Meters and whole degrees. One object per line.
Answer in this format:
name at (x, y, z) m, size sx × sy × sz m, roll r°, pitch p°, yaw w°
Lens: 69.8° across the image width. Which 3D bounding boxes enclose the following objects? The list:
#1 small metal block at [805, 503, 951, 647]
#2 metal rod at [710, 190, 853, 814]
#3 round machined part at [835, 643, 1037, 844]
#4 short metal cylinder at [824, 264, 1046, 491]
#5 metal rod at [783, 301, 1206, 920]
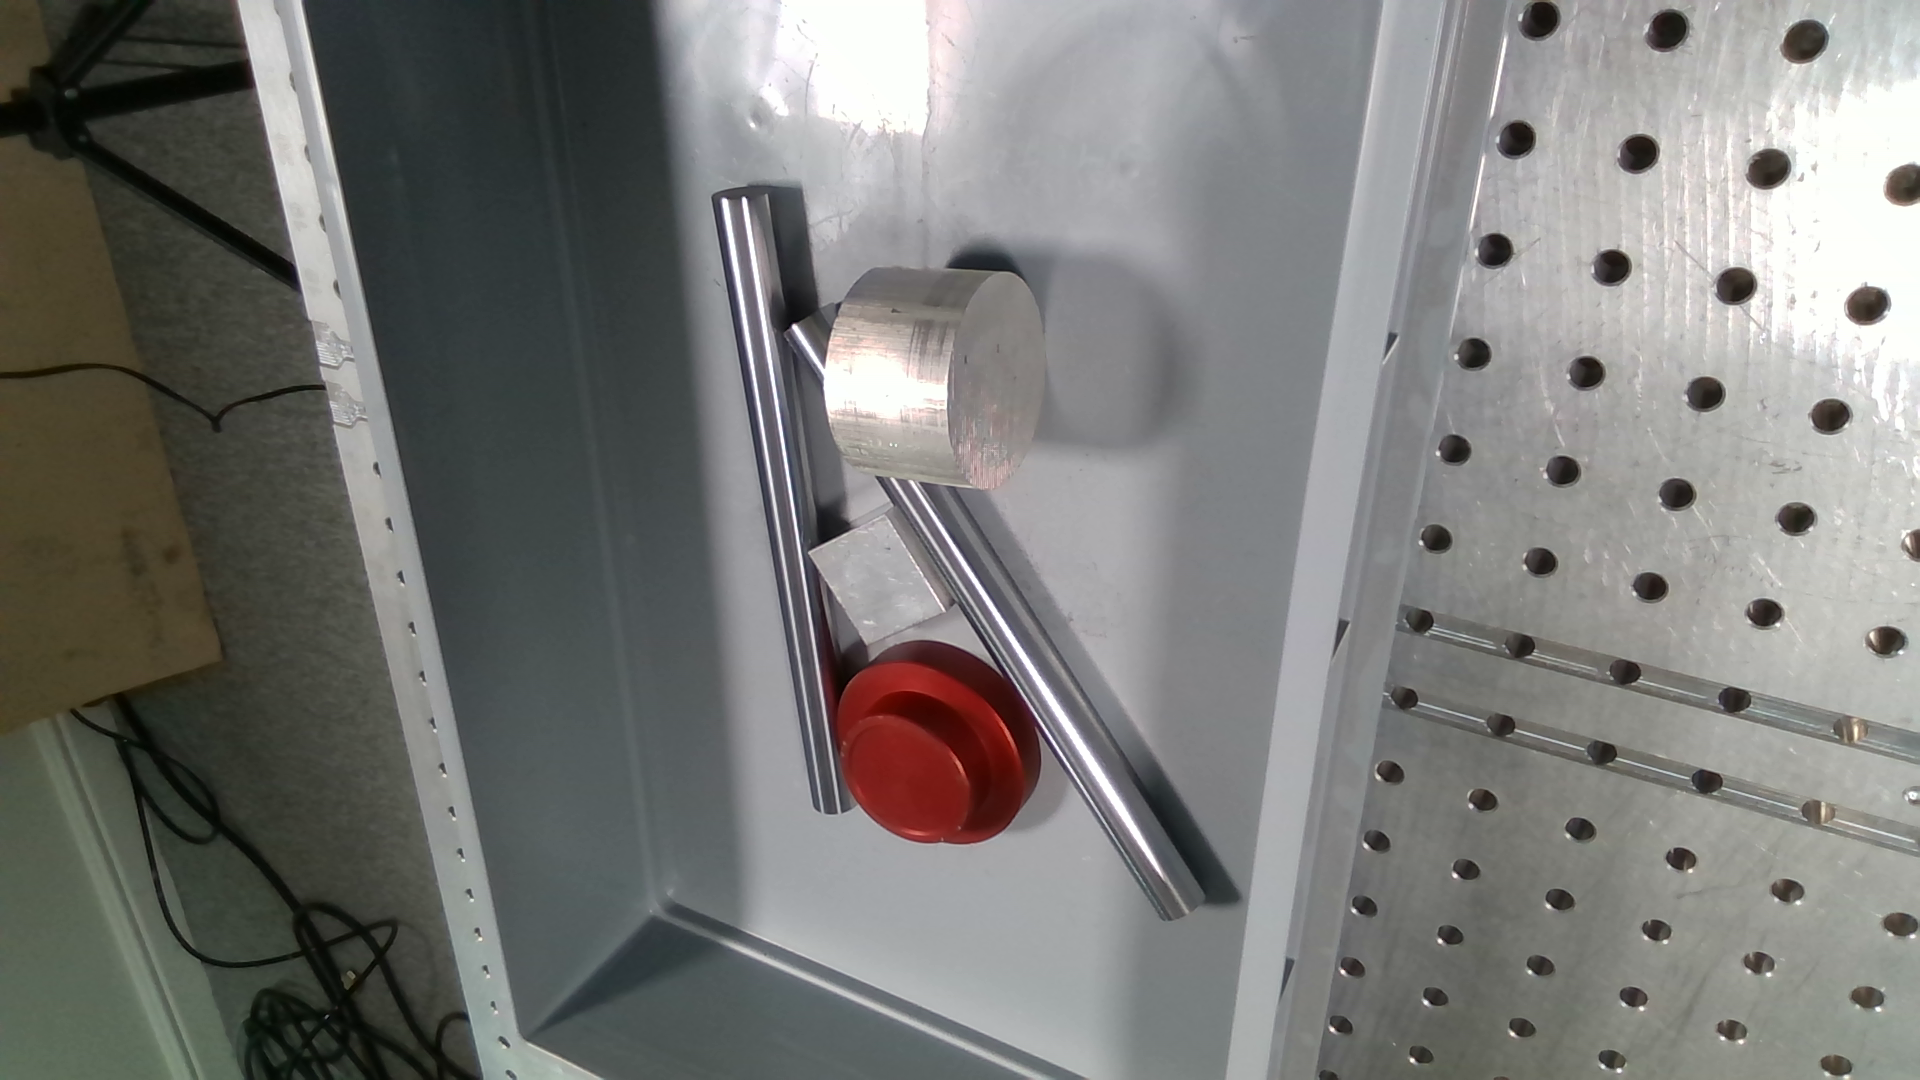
small metal block at (-0.032, 0.013, 0.604) m, size 0.050 × 0.025 × 0.050 m, roll -25°, pitch 101°, yaw 38°
metal rod at (-0.075, -0.005, 0.622) m, size 0.025 × 0.025 × 0.301 m, roll 9°, pitch 120°, yaw 28°
round machined part at (-0.017, 0.099, 0.630) m, size 0.098 × 0.042 × 0.098 m, roll 14°, pitch 122°, yaw 25°
short metal cylinder at (-0.007, -0.061, 0.515) m, size 0.050 × 0.080 × 0.080 m, roll 10°, pitch 120°, yaw 27°
metal rod at (0.018, 0.034, 0.586) m, size 0.025 × 0.025 × 0.300 m, roll -26°, pitch 100°, yaw 38°
